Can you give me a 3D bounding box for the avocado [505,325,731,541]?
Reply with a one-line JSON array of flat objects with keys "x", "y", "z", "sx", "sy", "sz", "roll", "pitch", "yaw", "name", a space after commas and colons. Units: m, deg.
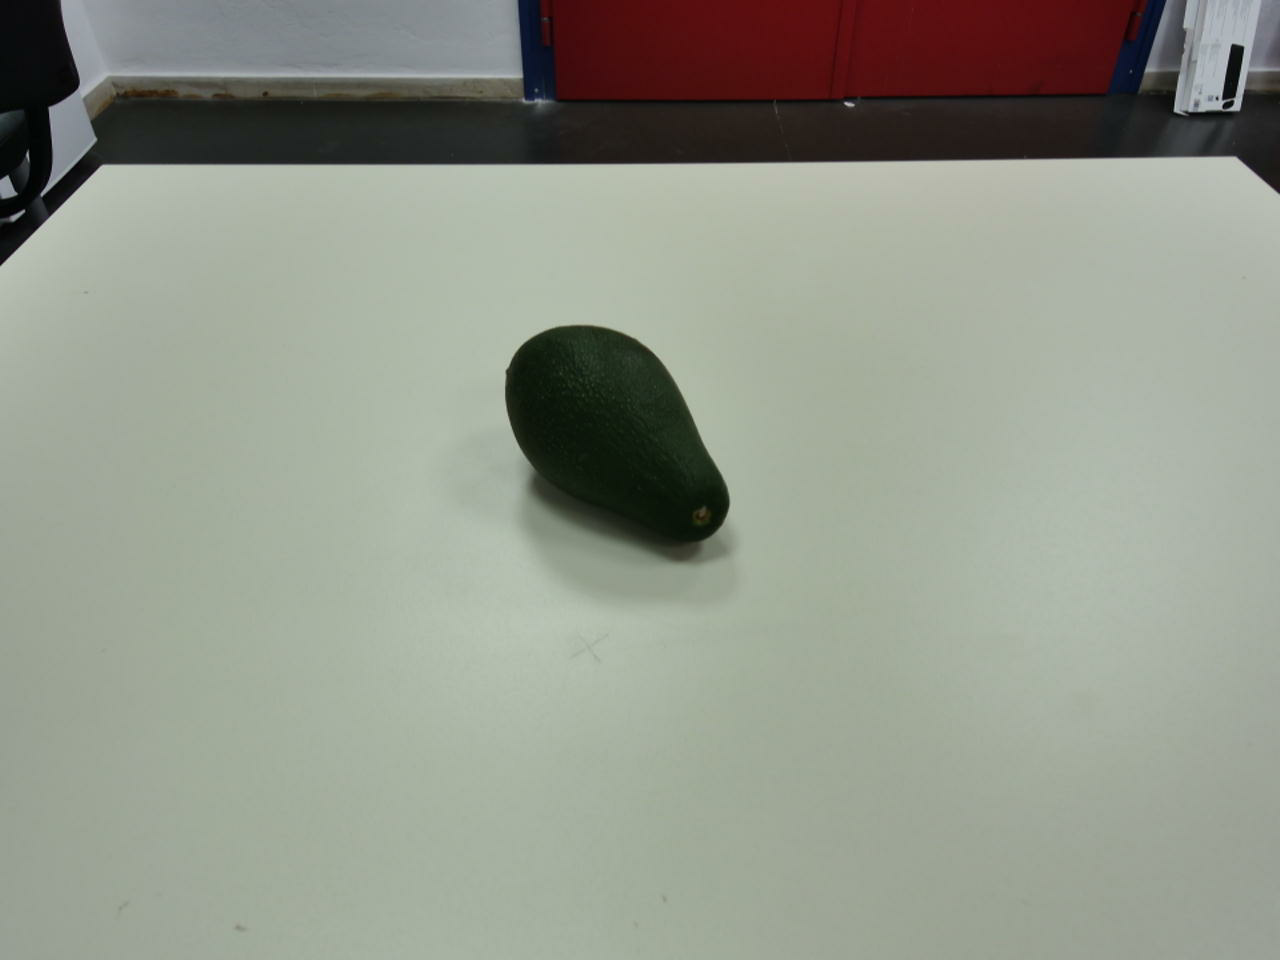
[{"x": -0.013, "y": -0.021, "z": 0.417, "sx": 0.072, "sy": 0.071, "sz": 0.109, "roll": -15, "pitch": 41, "yaw": -18, "name": "avocado"}]
